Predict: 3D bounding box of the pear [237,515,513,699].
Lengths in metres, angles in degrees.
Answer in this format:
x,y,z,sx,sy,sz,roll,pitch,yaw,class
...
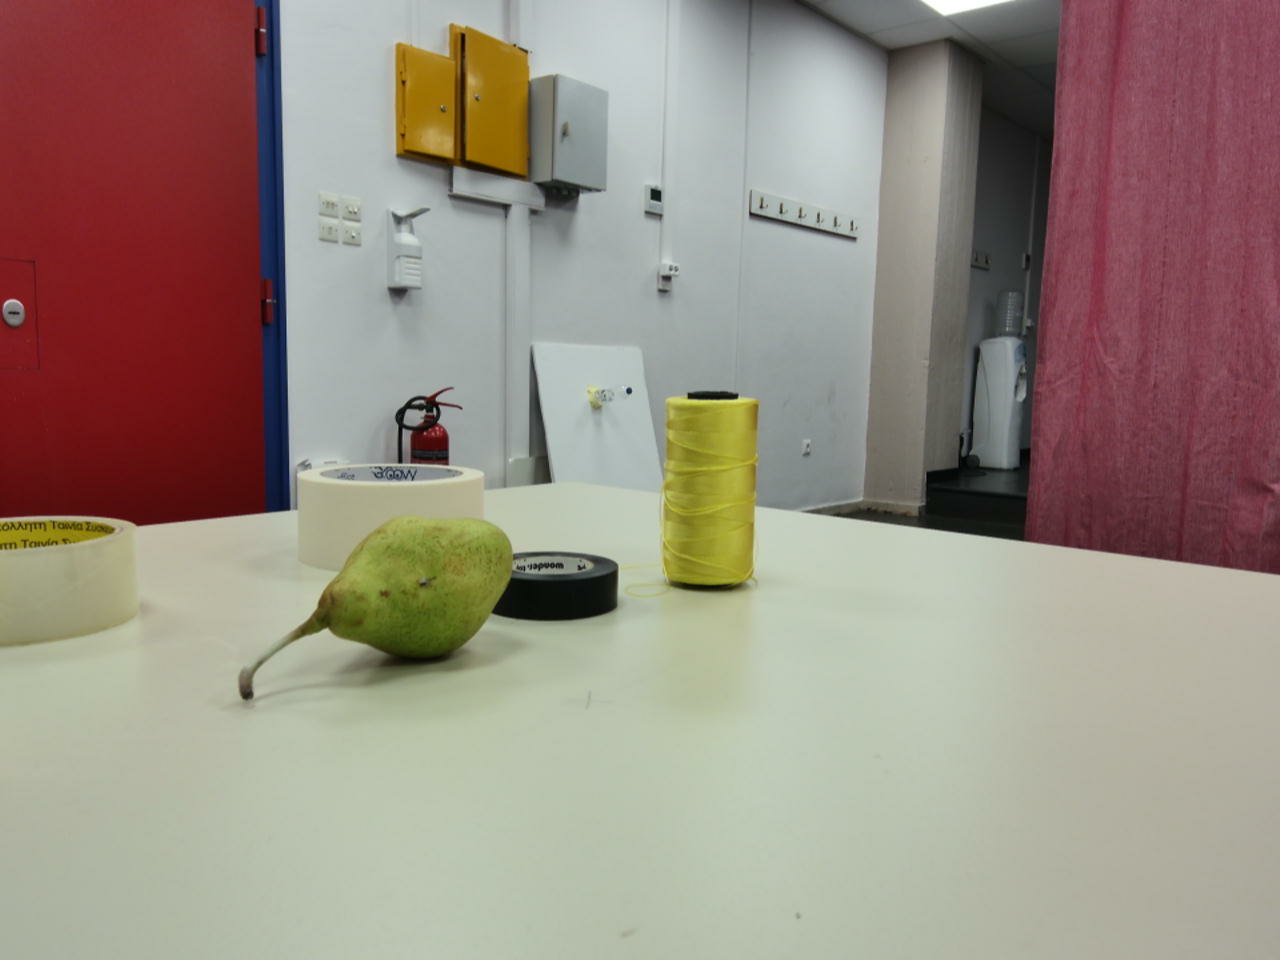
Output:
x,y,z,sx,sy,sz,roll,pitch,yaw,class
-0.102,0.043,0.385,0.111,0.056,0.056,-3,5,-35,pear
